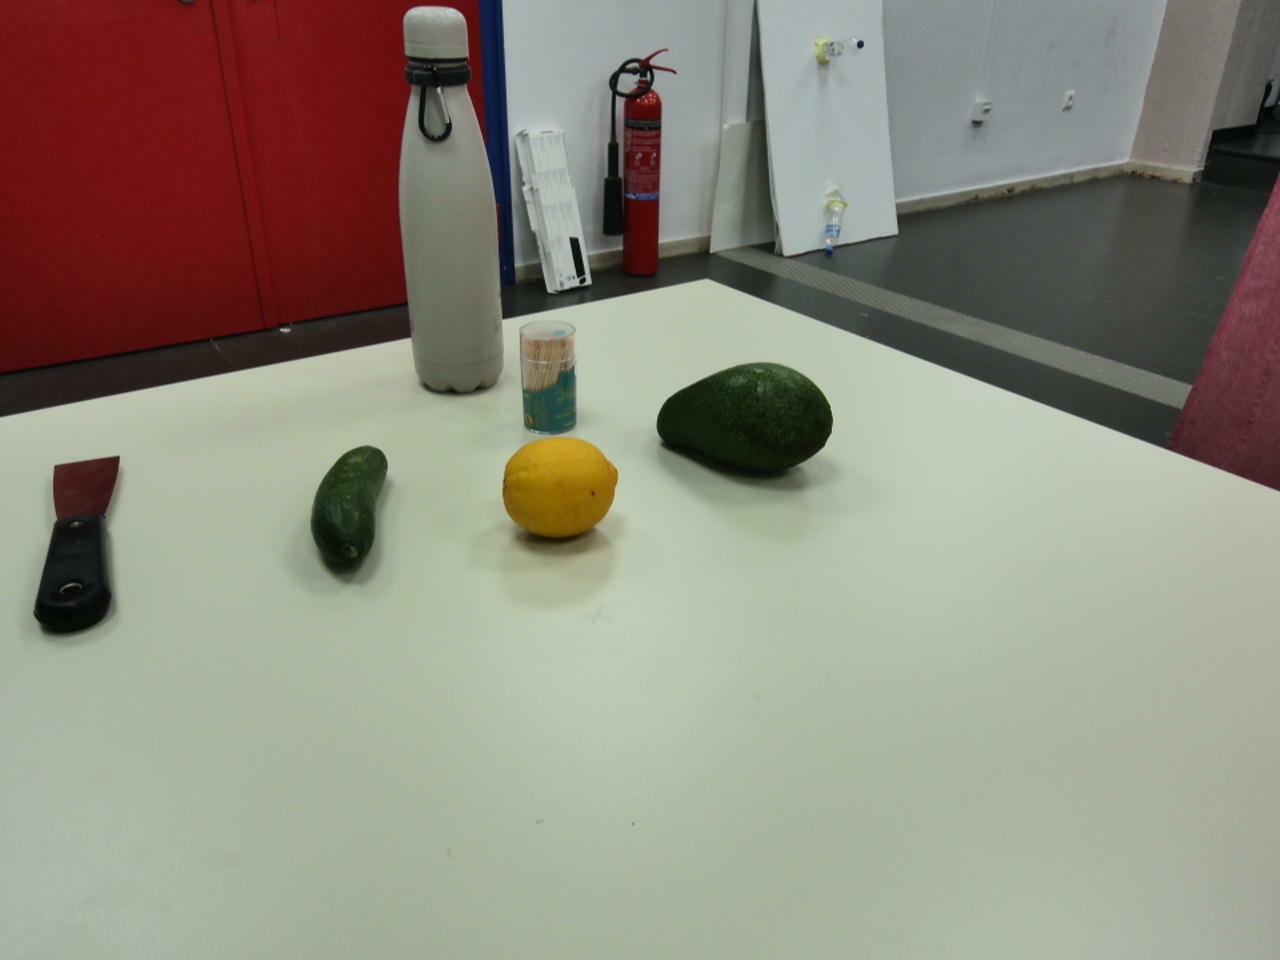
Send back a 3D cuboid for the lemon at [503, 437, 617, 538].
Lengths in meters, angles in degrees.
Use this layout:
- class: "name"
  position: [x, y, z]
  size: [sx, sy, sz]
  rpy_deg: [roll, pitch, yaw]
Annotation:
- class: "lemon"
  position: [-0.048, 0.005, 0.590]
  size: [0.067, 0.059, 0.060]
  rpy_deg: [3, 26, 5]
